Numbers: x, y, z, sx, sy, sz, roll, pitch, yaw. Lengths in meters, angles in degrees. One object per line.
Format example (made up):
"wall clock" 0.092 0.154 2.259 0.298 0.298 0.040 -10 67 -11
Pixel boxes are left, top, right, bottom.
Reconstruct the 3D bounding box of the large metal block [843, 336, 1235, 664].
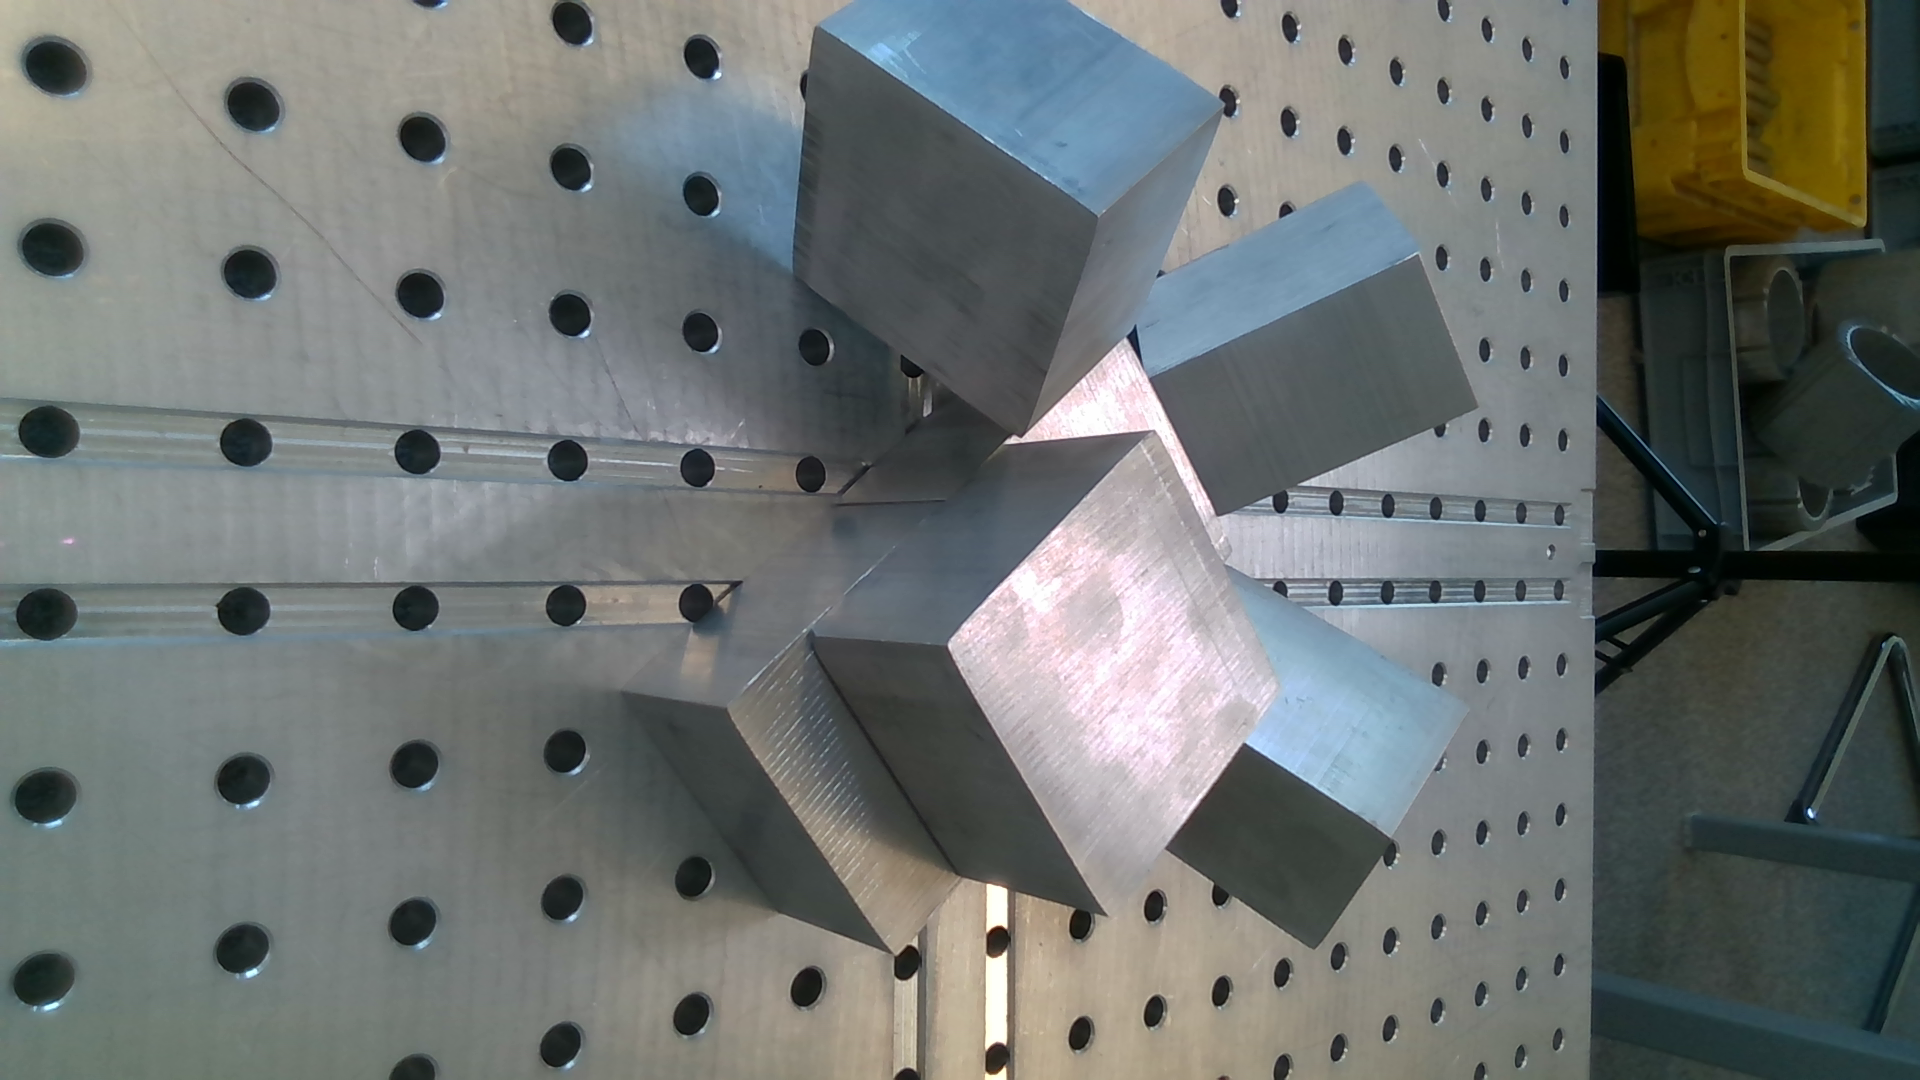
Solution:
"large metal block" 0.024 -0.004 0.398 0.080 0.050 0.080 -46 118 -30

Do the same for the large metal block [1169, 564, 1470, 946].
"large metal block" 0.093 0.065 0.417 0.050 0.080 0.080 -46 158 -31

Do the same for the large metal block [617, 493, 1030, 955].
"large metal block" -0.025 0.044 0.355 0.080 0.050 0.080 -45 118 -32

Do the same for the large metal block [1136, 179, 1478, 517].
"large metal block" 0.101 -0.061 0.423 0.050 0.080 0.080 59 17 -23

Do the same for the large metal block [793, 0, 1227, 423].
"large metal block" 0.008 -0.088 0.345 0.080 0.080 0.050 36 58 12

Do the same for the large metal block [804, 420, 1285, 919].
"large metal block" 0.023 0.028 0.330 0.080 0.050 0.080 -44 118 -30
